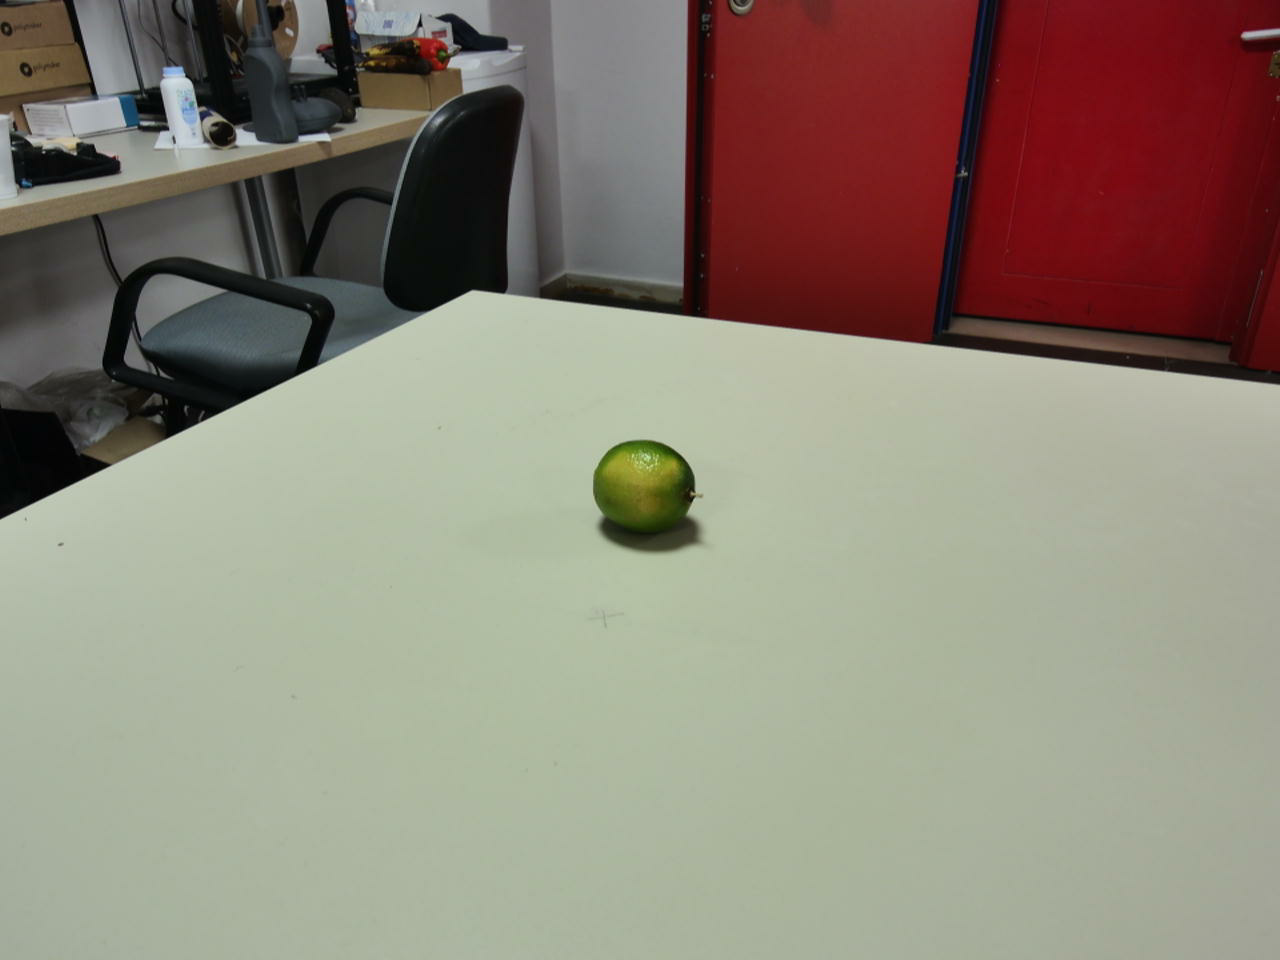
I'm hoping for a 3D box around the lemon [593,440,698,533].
[{"bbox_3d":[0.002,0.003,0.550,0.054,0.050,0.055,-6,26,-14],"label":"lemon"}]
